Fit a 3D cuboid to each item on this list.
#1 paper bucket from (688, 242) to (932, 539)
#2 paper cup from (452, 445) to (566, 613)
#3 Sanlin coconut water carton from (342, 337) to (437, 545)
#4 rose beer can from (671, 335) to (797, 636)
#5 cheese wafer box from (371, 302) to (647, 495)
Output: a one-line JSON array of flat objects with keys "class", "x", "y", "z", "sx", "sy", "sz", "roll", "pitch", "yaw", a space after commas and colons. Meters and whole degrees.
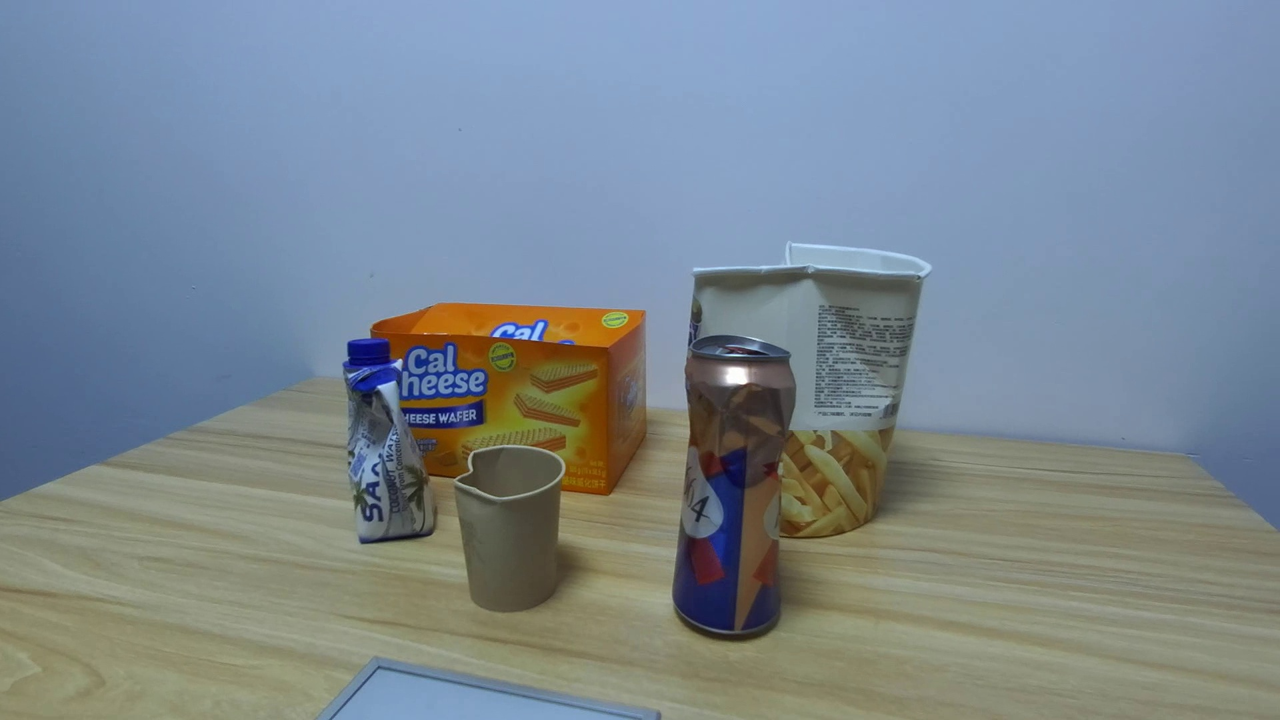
[{"class": "paper bucket", "x": 0.120, "y": 0.014, "z": 0.564, "sx": 0.169, "sy": 0.202, "sz": 0.162, "roll": 4, "pitch": 14, "yaw": 3}, {"class": "paper cup", "x": -0.080, "y": 0.106, "z": 0.443, "sx": 0.073, "sy": 0.081, "sz": 0.069, "roll": 9, "pitch": 16, "yaw": 31}, {"class": "Sanlin coconut water carton", "x": -0.188, "y": 0.060, "z": 0.507, "sx": 0.057, "sy": 0.145, "sz": 0.068, "roll": -11, "pitch": 24, "yaw": -13}, {"class": "rose beer can", "x": 0.055, "y": 0.073, "z": 0.408, "sx": 0.065, "sy": 0.167, "sz": 0.076, "roll": 3, "pitch": 13, "yaw": 4}, {"class": "cheese wafer box", "x": -0.117, "y": 0.027, "z": 0.651, "sx": 0.230, "sy": 0.132, "sz": 0.152, "roll": 4, "pitch": 17, "yaw": 13}]
